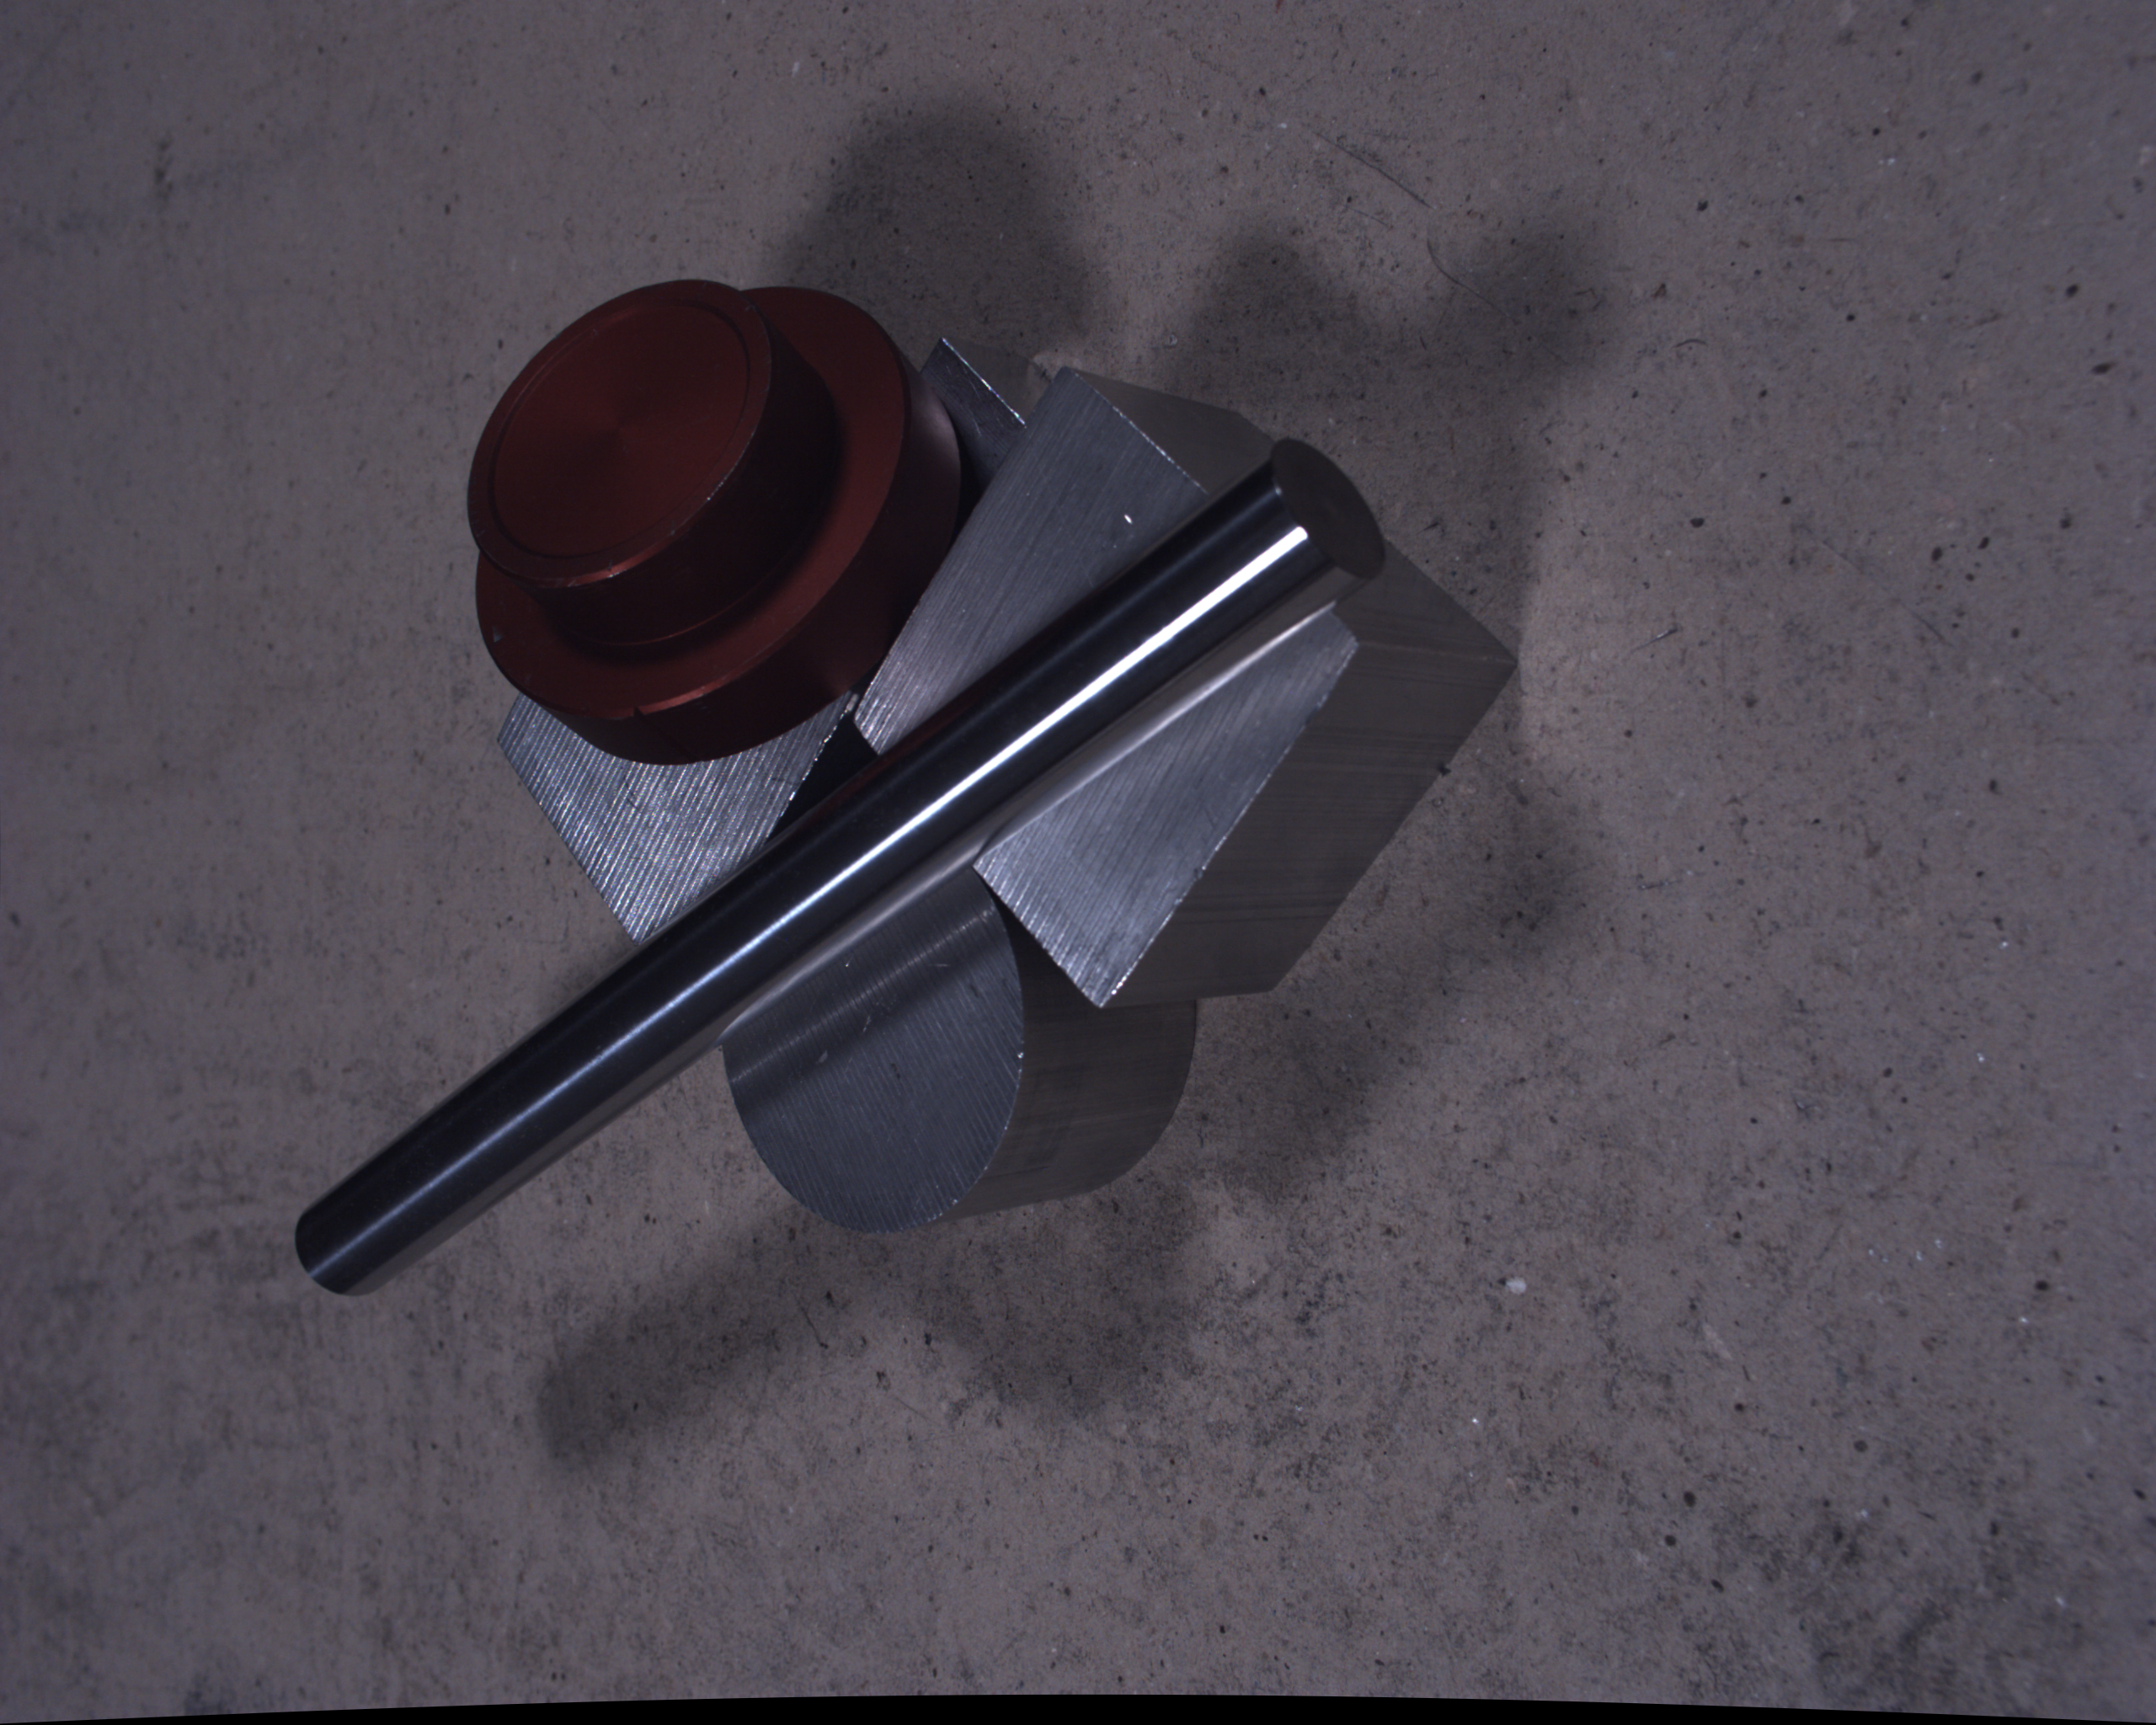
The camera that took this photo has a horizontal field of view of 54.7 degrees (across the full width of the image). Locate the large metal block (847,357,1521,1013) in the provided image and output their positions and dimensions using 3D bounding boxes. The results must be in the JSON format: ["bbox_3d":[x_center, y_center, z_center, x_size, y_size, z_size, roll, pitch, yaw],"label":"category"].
[{"bbox_3d":[0.017,-0.031,0.375,0.080,0.050,0.080,49,119,28],"label":"large metal block"}]

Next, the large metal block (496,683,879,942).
[{"bbox_3d":[-0.068,-0.030,0.443,0.080,0.050,0.080,50,119,28],"label":"large metal block"}]

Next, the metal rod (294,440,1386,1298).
[{"bbox_3d":[-0.065,0.018,0.392,0.299,0.025,0.025,-34,69,34],"label":"metal rod"}]

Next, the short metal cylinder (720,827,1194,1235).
[{"bbox_3d":[-0.025,0.029,0.408,0.080,0.050,0.079,0,90,39],"label":"short metal cylinder"}]

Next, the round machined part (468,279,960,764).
[{"bbox_3d":[-0.075,-0.071,0.398,0.098,0.042,0.098,-12,60,21],"label":"round machined part"}]

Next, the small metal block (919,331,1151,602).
[{"bbox_3d":[-0.018,-0.069,0.418,0.050,0.025,0.050,50,119,28],"label":"small metal block"}]
